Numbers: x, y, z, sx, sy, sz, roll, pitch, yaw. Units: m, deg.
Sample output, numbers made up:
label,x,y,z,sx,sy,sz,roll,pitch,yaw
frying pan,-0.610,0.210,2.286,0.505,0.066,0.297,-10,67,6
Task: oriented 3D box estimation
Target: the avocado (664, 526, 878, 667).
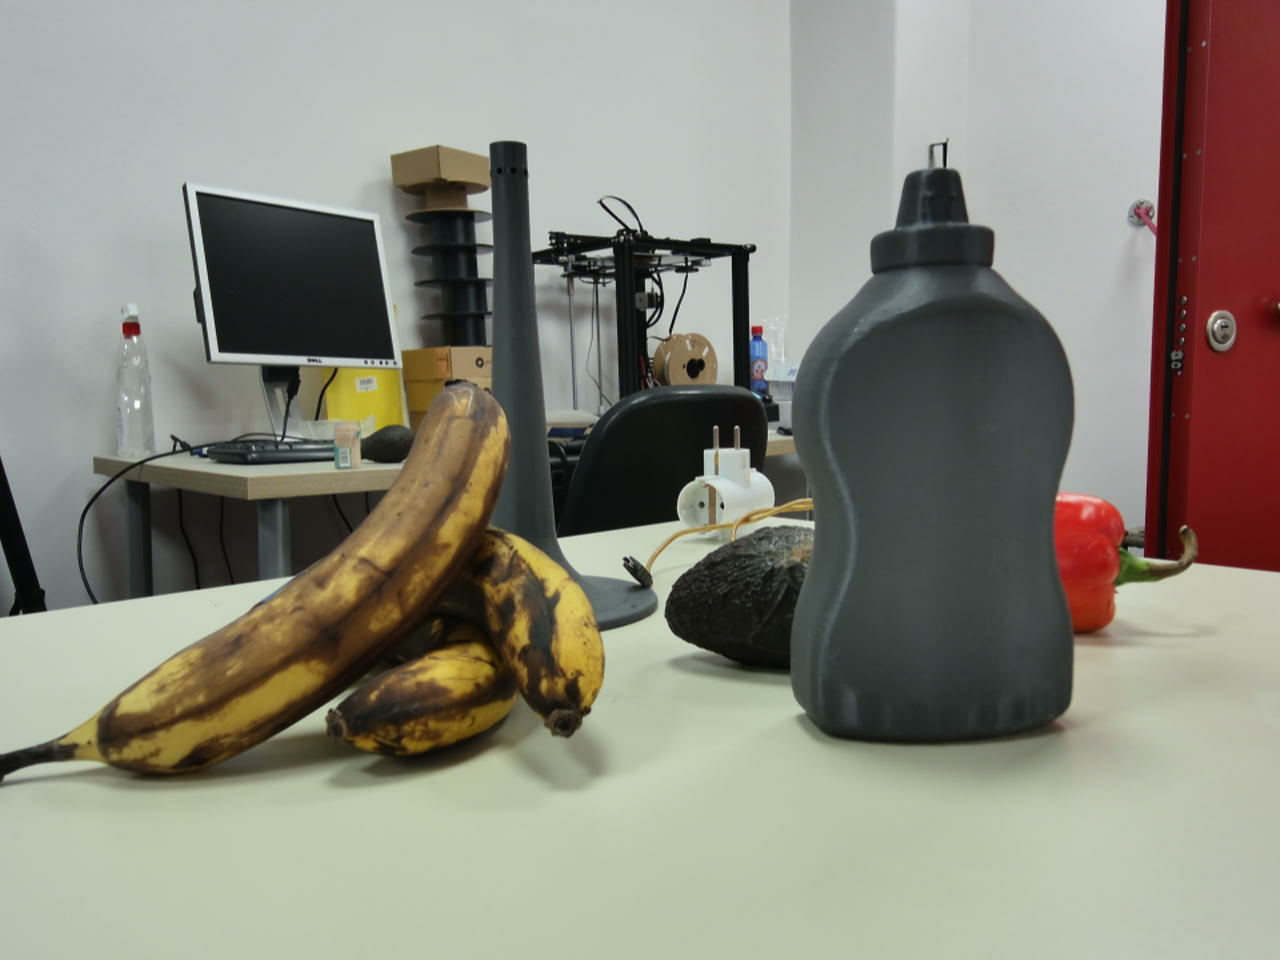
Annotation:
label,x,y,z,sx,sy,sz,roll,pitch,yaw
avocado,0.059,0.051,0.446,0.092,0.062,0.062,2,4,26
